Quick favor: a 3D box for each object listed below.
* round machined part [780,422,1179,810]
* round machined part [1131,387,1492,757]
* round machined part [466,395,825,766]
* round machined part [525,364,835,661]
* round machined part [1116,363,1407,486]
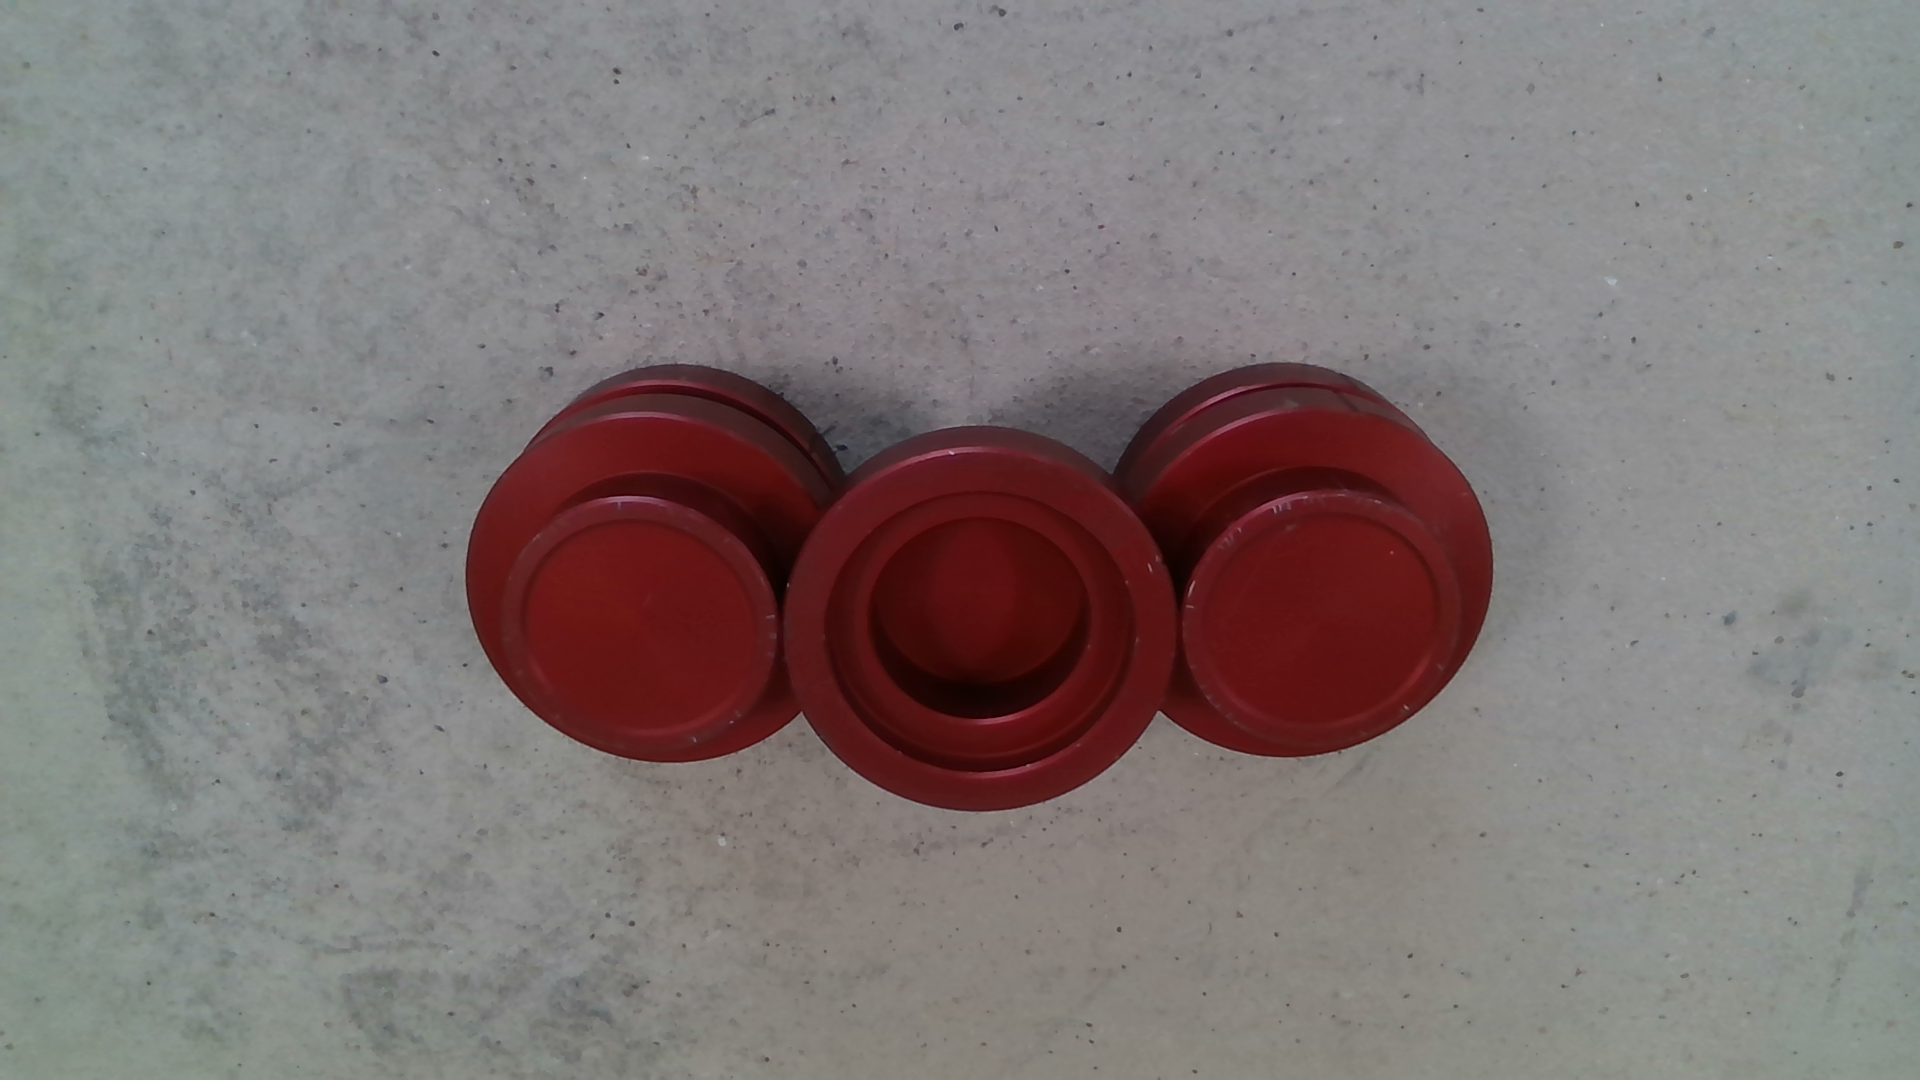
[{"bbox_3d":[0.005,0.017,0.357,0.098,0.042,0.098,0,110,0],"label":"round machined part"},{"bbox_3d":[0.088,0.013,0.355,0.098,0.042,0.098,0,109,0],"label":"round machined part"},{"bbox_3d":[-0.078,0.015,0.354,0.098,0.042,0.098,0,109,0],"label":"round machined part"},{"bbox_3d":[-0.081,0.003,0.387,0.098,0.042,0.098,0,109,-1],"label":"round machined part"},{"bbox_3d":[0.091,0.002,0.385,0.098,0.042,0.098,0,108,0],"label":"round machined part"}]
